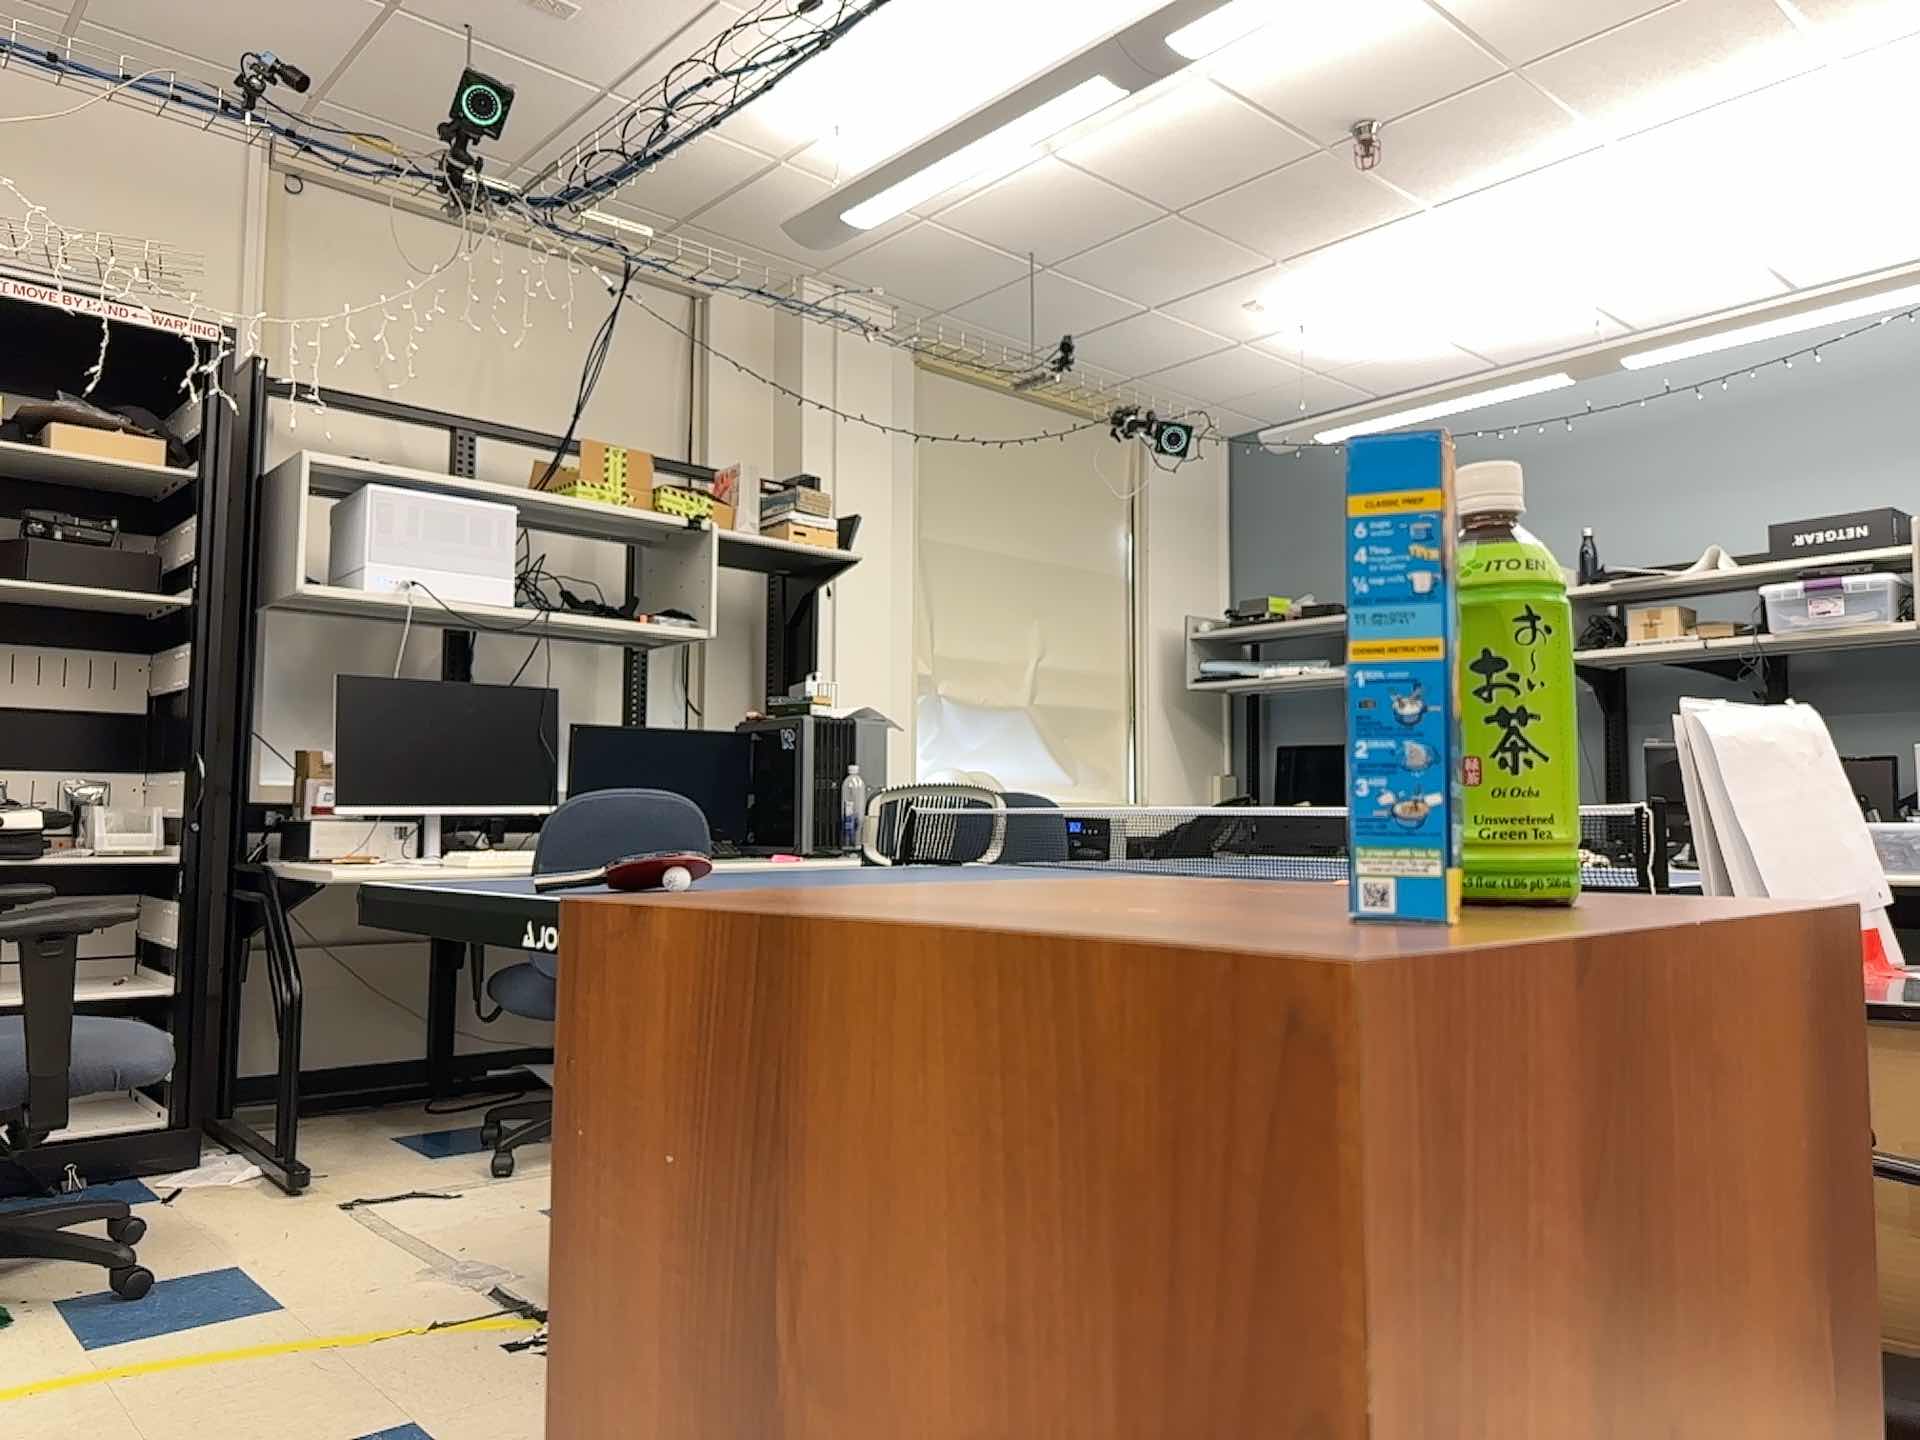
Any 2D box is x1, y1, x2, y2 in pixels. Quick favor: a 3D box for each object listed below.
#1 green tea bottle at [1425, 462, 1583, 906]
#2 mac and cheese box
[{"bbox_3d":[0.258,-0.018,0.652,0.073,0.212,0.073,1,-8,0],"label":"green tea bottle"},{"bbox_3d":[0.179,-0.014,0.543,0.035,0.181,0.088,-1,-6,24],"label":"mac and cheese box"}]
